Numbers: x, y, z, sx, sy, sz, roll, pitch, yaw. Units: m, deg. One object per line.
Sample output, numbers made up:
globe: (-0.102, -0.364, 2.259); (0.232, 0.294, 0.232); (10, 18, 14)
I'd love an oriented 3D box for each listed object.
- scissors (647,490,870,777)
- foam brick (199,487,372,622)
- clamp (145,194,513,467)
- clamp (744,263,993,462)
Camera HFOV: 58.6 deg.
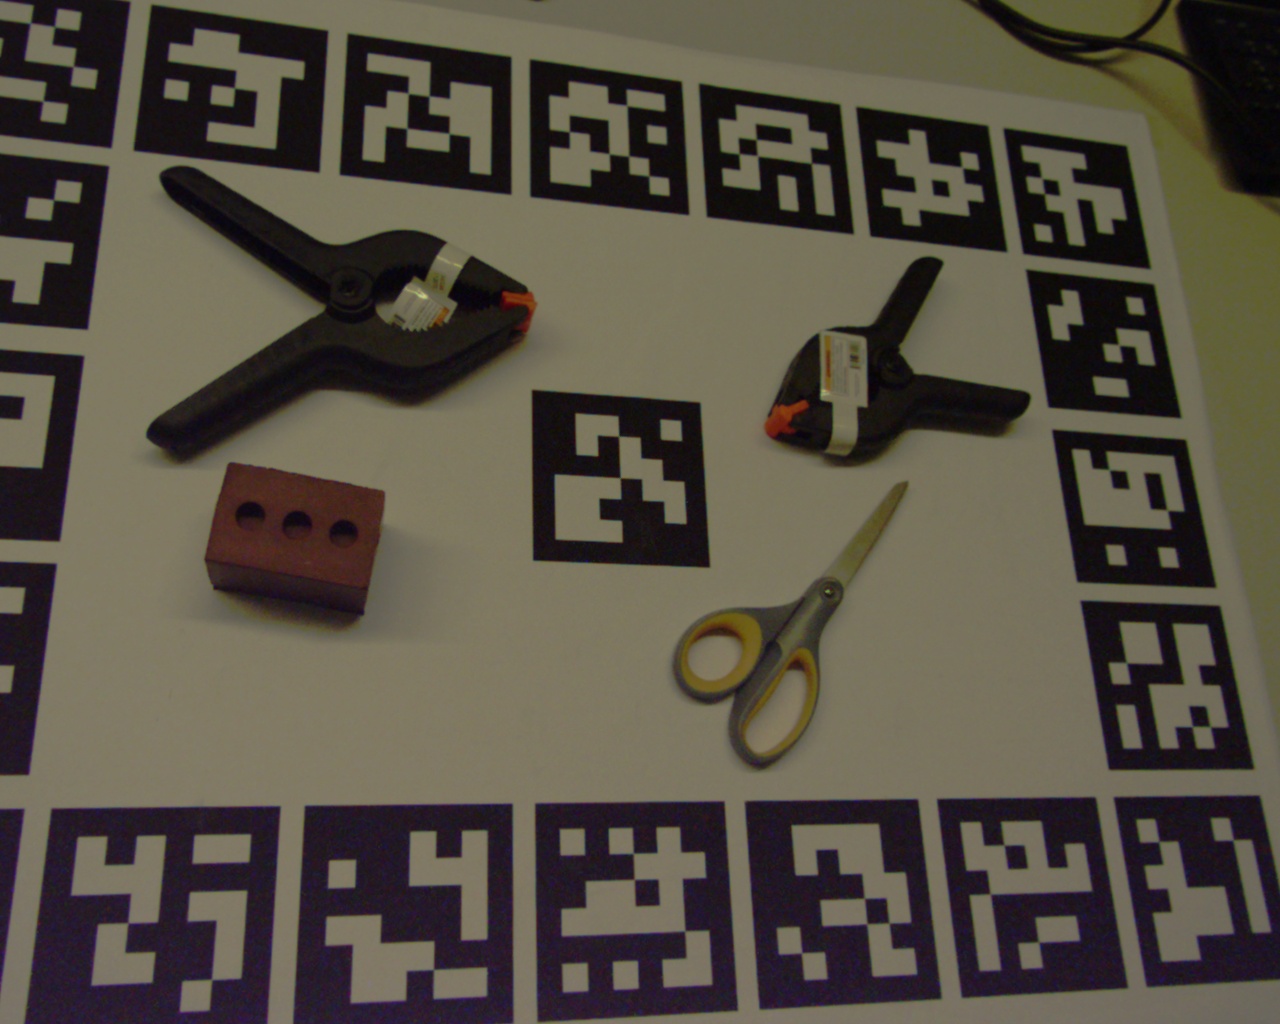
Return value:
scissors: (0.083, 0.057, 0.676); (0.087, 0.016, 0.202); (42, 66, -7)
foam brick: (-0.185, 0.024, 0.605); (0.078, 0.051, 0.053); (9, 72, -7)
clamp: (-0.175, -0.104, 0.654); (0.201, 0.037, 0.166); (-1, 70, -16)
clamp: (0.139, -0.081, 0.731); (0.164, 0.037, 0.122); (-26, 88, -20)
